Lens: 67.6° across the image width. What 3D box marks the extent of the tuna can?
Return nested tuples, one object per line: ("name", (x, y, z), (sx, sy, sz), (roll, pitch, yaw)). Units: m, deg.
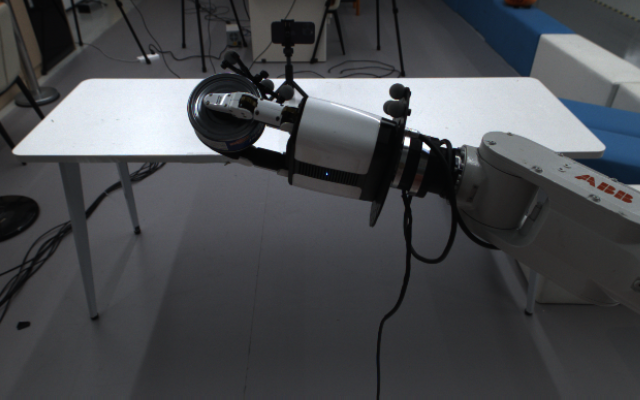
("tuna can", (-0.100, -0.094, 0.544), (0.085, 0.034, 0.085), (0, 73, -1))
